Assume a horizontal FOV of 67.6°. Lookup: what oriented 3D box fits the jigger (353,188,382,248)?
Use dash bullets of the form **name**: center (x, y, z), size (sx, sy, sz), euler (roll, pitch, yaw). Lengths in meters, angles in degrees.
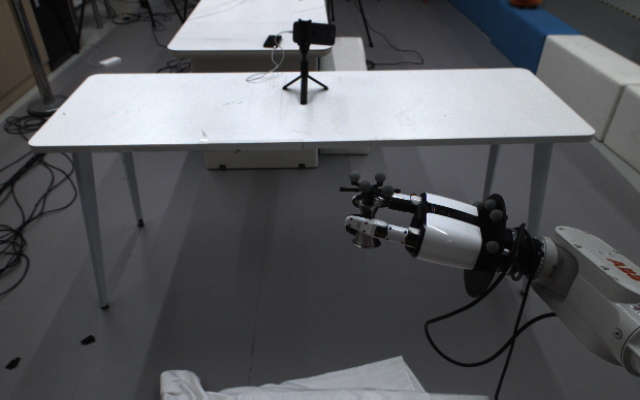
- **jigger**: center (0.072, 0.031, 0.733), size (0.043, 0.071, 0.043), euler (1, 20, 0)
